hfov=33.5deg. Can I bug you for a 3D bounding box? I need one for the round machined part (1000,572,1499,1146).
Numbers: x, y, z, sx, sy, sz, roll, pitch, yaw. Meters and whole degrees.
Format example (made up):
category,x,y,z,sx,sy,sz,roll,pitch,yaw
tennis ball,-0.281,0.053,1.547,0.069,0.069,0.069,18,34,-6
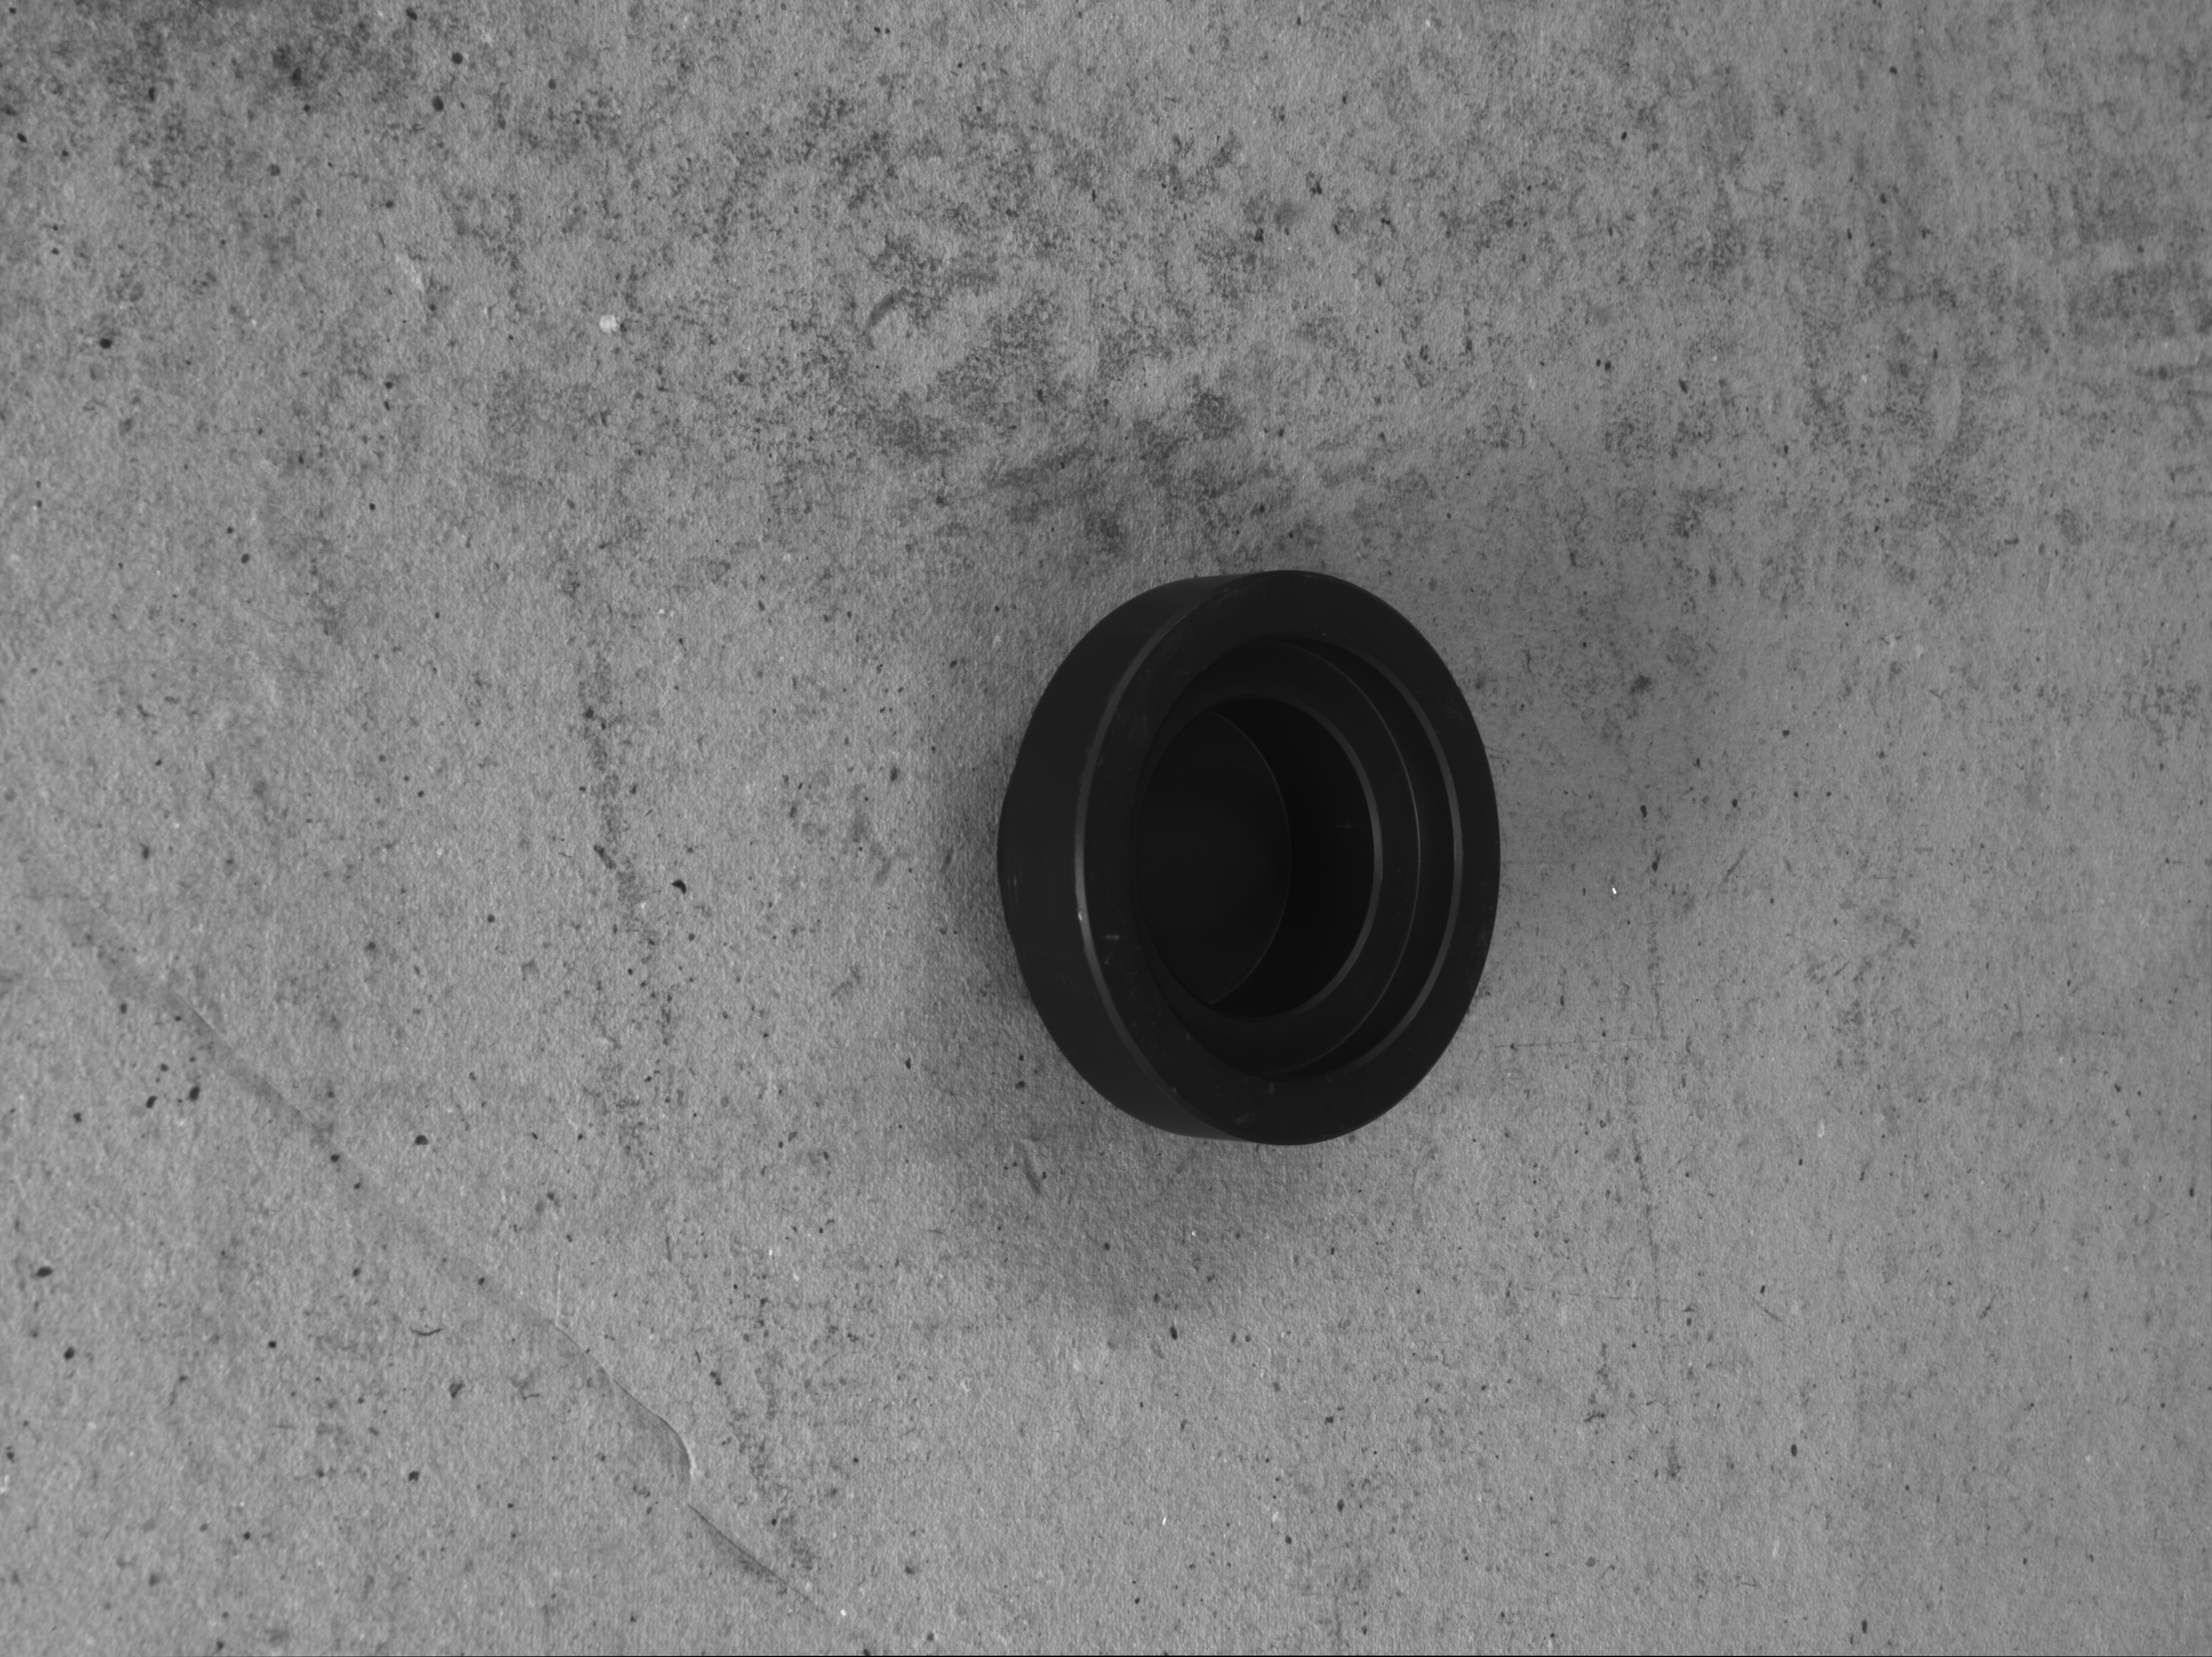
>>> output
category,x,y,z,sx,sy,sz,roll,pitch,yaw
round machined part,0.020,0.005,0.642,0.098,0.042,0.098,0,90,-40
